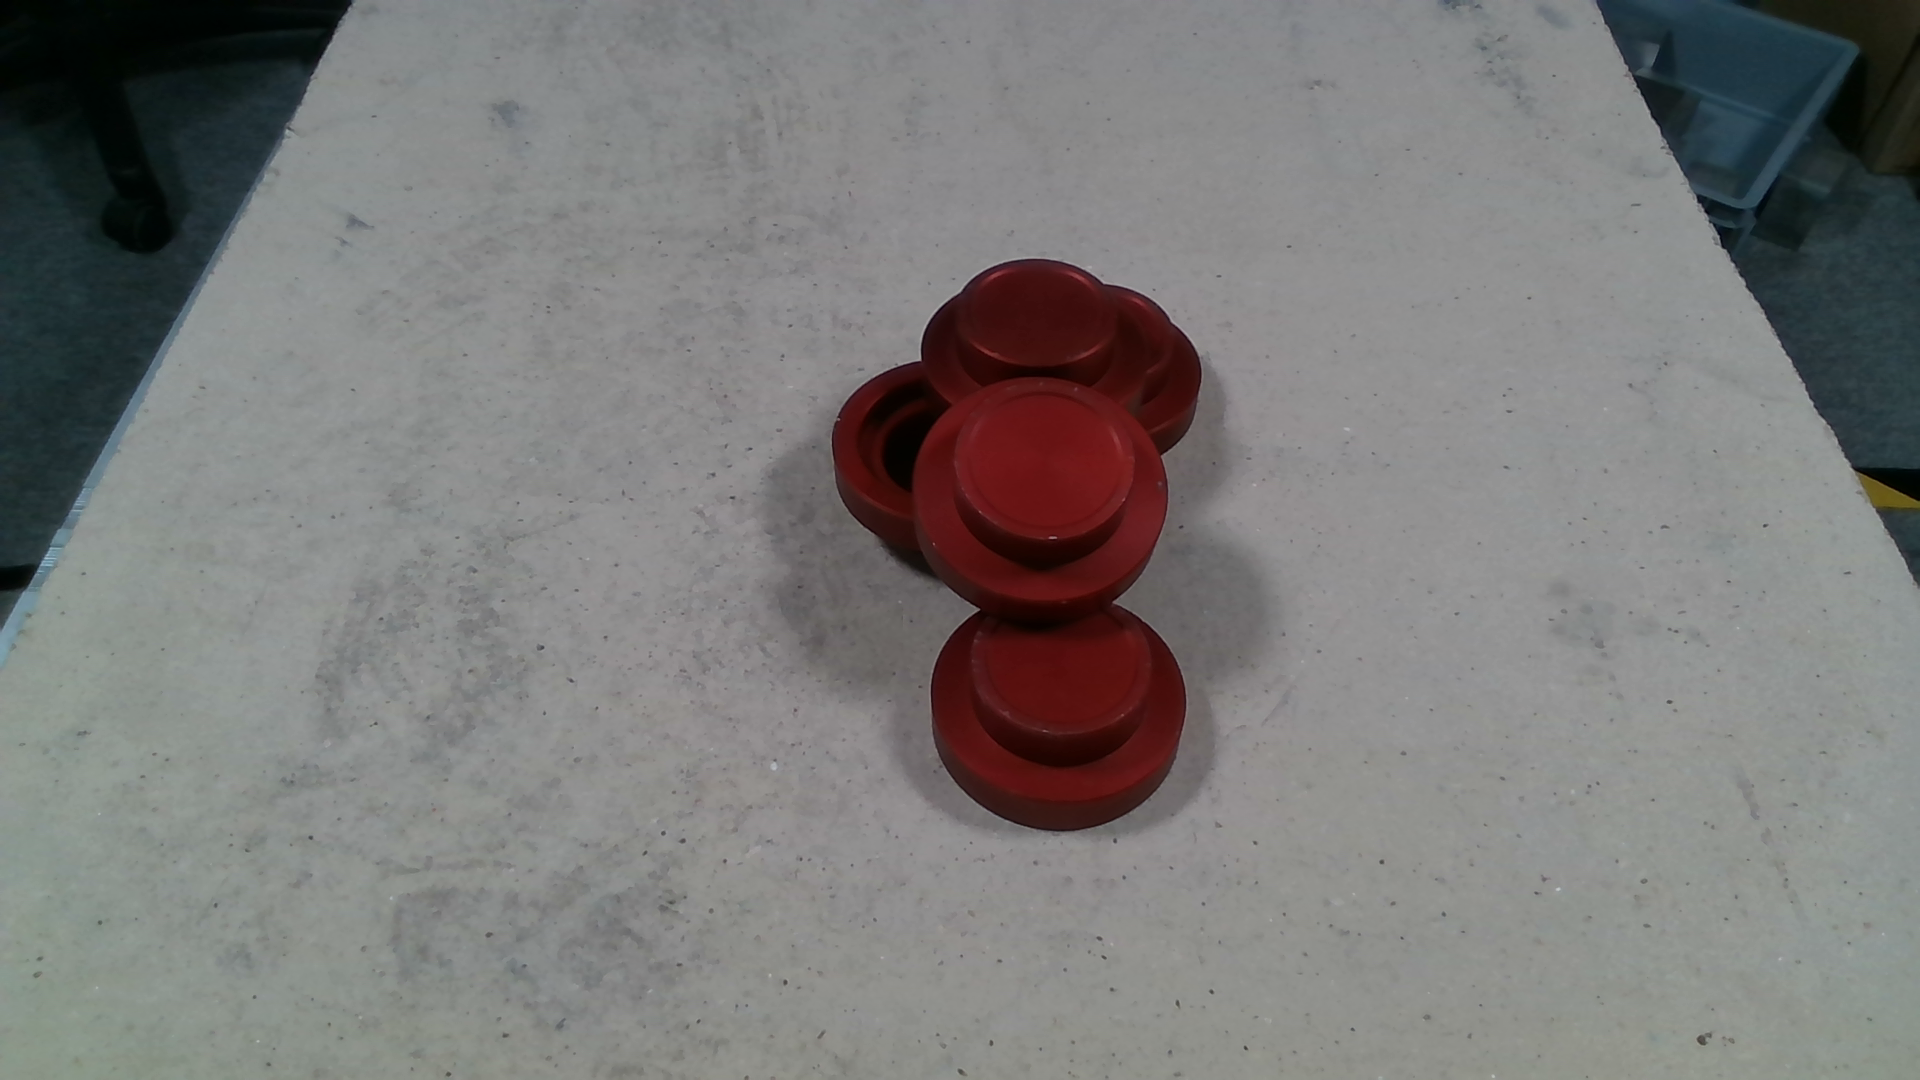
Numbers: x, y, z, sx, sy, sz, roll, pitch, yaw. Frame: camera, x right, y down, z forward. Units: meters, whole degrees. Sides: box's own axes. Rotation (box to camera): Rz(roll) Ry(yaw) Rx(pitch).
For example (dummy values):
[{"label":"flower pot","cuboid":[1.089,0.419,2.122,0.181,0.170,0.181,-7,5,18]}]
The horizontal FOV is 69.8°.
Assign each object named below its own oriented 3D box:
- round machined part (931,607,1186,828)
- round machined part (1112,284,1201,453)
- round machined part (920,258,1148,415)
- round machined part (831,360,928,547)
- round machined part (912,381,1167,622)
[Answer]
[{"label":"round machined part","cuboid":[0.038,0.057,0.528,0.098,0.042,0.098,0,50,0]},{"label":"round machined part","cuboid":[0.064,-0.083,0.645,0.098,0.042,0.098,0,50,0]},{"label":"round machined part","cuboid":[0.032,-0.083,0.590,0.098,0.042,0.098,0,50,0]},{"label":"round machined part","cuboid":[-0.006,-0.032,0.603,0.098,0.042,0.098,0,50,0]},{"label":"round machined part","cuboid":[0.031,-0.021,0.525,0.098,0.042,0.098,1,63,-1]}]
